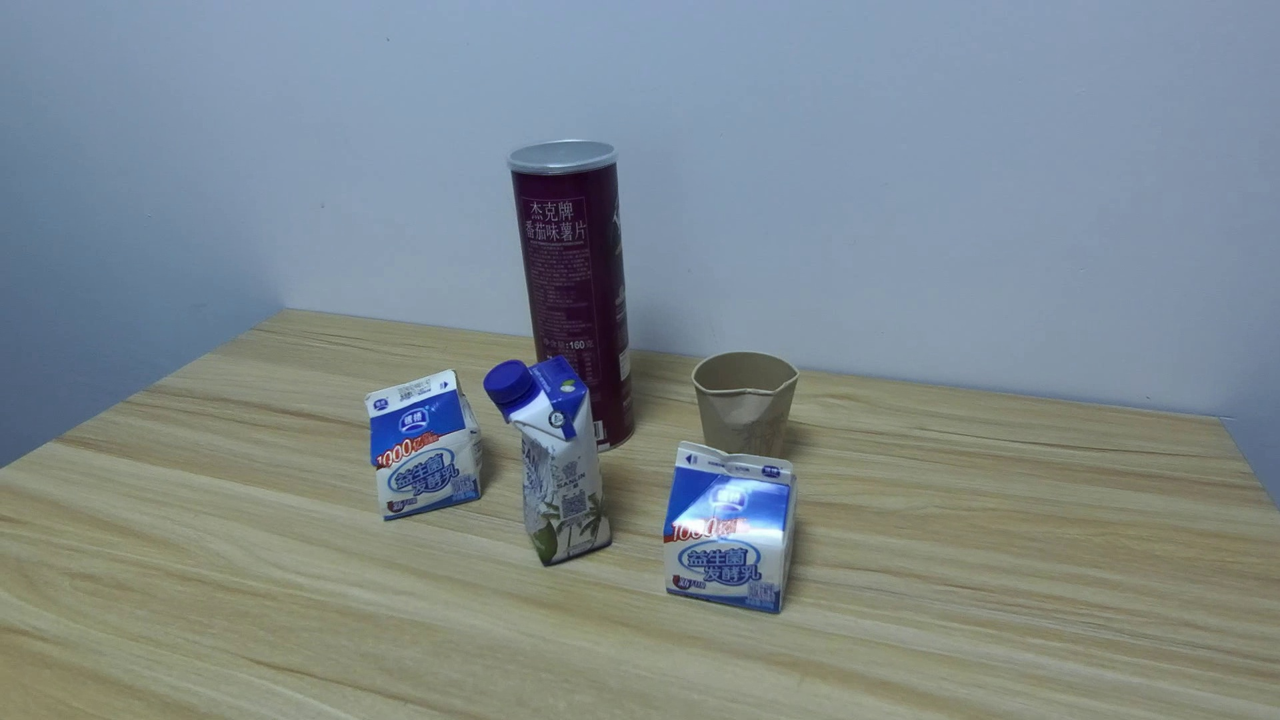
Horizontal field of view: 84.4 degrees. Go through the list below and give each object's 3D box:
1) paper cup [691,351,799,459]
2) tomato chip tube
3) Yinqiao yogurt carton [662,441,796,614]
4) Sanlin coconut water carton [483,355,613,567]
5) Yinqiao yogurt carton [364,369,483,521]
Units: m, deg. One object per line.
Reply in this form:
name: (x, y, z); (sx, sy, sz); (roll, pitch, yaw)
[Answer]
paper cup: (0.077, 0.045, 0.533); (0.068, 0.081, 0.074); (19, 35, 37)
tomato chip tube: (-0.048, -0.044, 0.553); (0.078, 0.234, 0.078); (-3, 29, 2)
Yinqiao yogurt carton: (0.059, 0.094, 0.441); (0.075, 0.092, 0.074); (7, 30, 15)
Sanlin coconut water carton: (-0.058, 0.062, 0.467); (0.058, 0.142, 0.077); (-19, 32, -16)
Yinqiao yogurt carton: (-0.165, 0.055, 0.537); (0.083, 0.093, 0.077); (-11, 31, -13)
